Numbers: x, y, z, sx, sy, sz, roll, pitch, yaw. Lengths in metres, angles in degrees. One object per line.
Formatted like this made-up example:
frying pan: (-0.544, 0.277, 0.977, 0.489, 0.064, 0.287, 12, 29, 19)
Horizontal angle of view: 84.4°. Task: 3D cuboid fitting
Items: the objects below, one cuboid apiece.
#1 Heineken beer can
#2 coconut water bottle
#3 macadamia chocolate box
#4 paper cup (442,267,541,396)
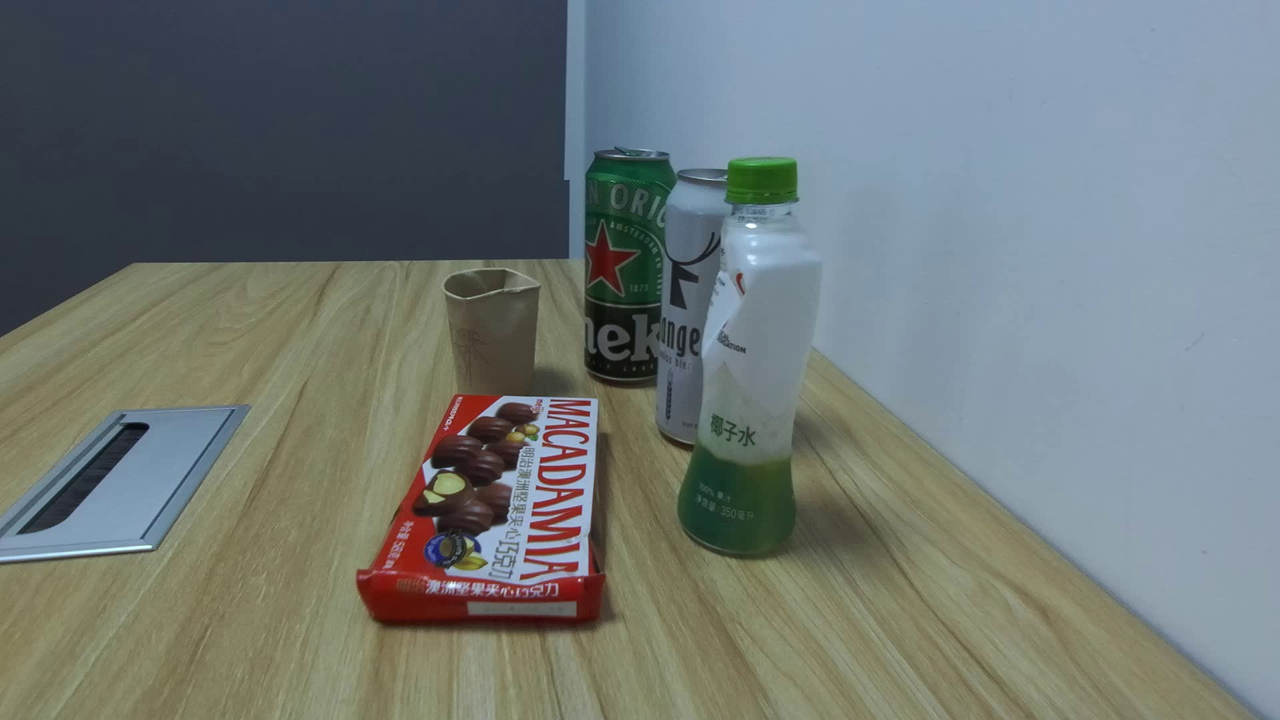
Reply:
Heineken beer can: (-0.008, -0.067, 0.532, 0.067, 0.169, 0.067, 1, 18, 0)
coconut water bottle: (0.055, 0.000, 0.343, 0.069, 0.187, 0.069, 3, 21, -1)
macadamia chocolate box: (-0.071, 0.070, 0.381, 0.106, 0.028, 0.182, 1, 23, -3)
paper cup: (-0.108, -0.017, 0.510, 0.072, 0.084, 0.066, -10, 25, -32)
